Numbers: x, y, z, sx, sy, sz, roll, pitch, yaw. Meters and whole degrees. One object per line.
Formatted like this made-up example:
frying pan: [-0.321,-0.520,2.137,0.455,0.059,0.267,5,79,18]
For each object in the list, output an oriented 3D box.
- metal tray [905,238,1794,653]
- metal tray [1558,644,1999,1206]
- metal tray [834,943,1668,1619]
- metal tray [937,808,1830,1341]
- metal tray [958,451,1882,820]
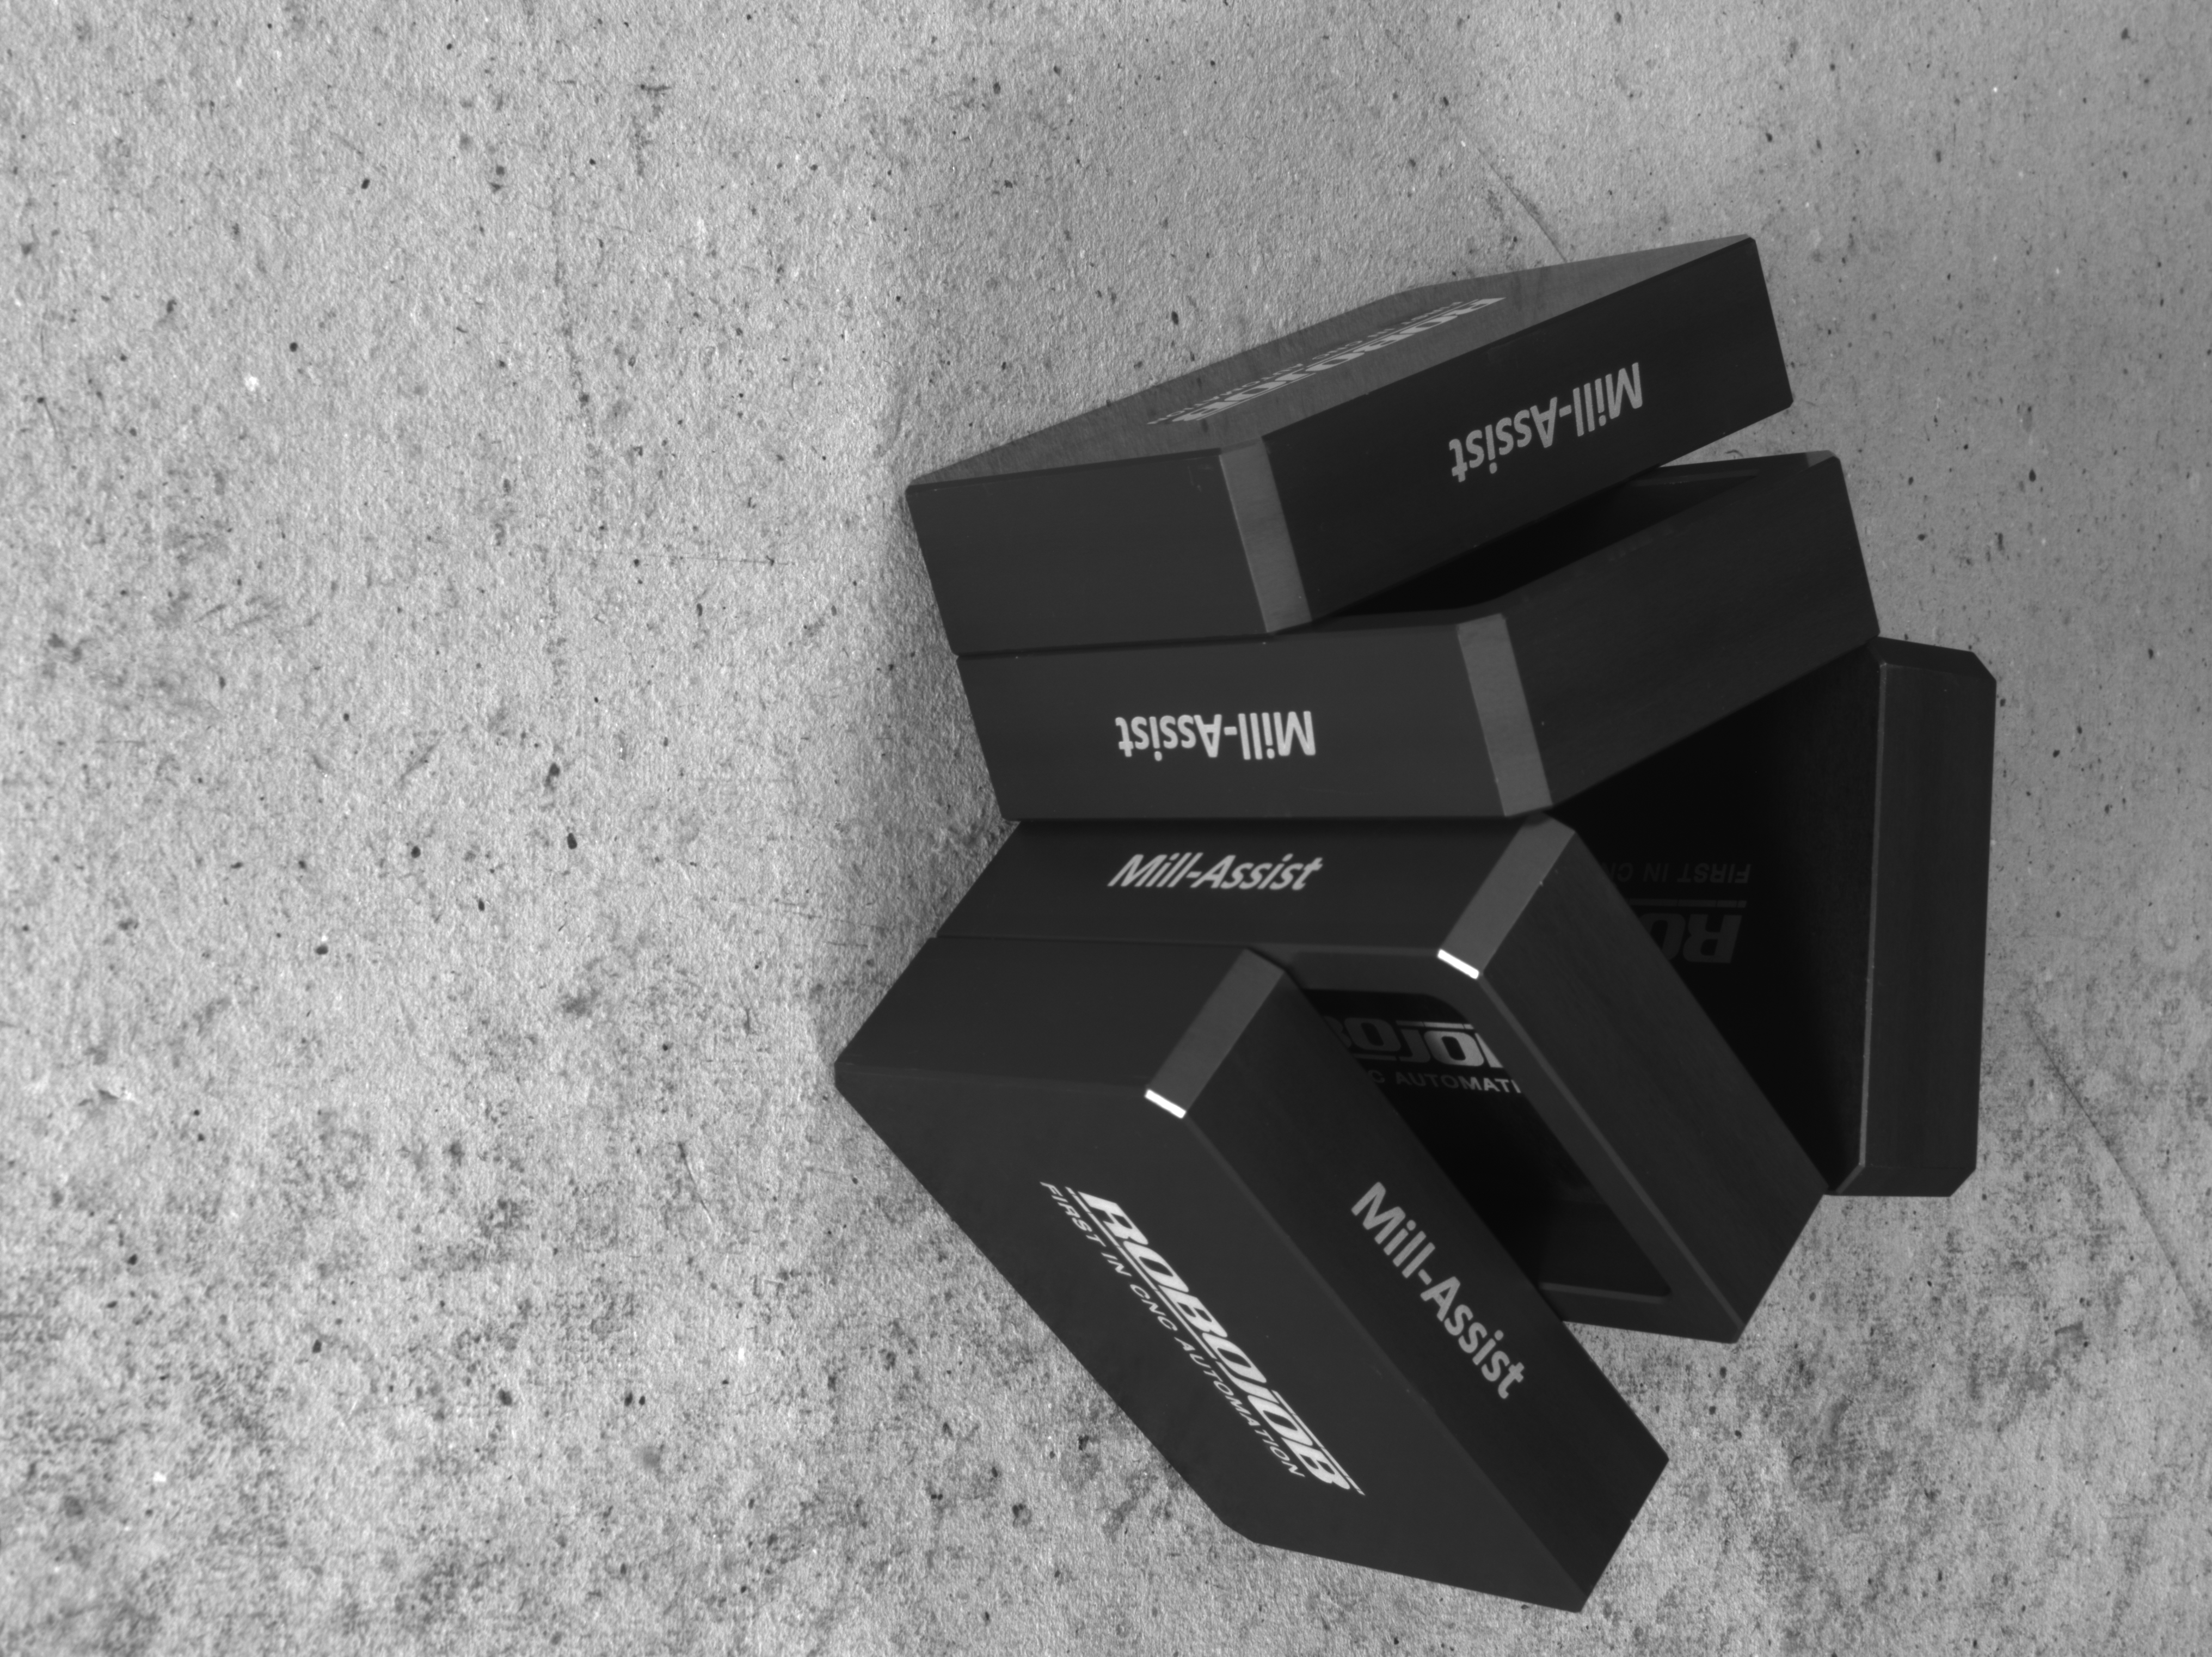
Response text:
metal tray: [0.043,-0.066,0.629,0.130,0.090,0.030,-25,105,-37]
metal tray: [0.092,0.016,0.644,0.030,0.130,0.090,6,86,-39]
metal tray: [0.024,0.075,0.613,0.130,0.090,0.030,51,60,-27]
metal tray: [0.042,0.039,0.603,0.090,0.130,0.030,51,60,-27]
metal tray: [0.049,-0.031,0.609,0.090,0.130,0.030,-26,106,-37]
